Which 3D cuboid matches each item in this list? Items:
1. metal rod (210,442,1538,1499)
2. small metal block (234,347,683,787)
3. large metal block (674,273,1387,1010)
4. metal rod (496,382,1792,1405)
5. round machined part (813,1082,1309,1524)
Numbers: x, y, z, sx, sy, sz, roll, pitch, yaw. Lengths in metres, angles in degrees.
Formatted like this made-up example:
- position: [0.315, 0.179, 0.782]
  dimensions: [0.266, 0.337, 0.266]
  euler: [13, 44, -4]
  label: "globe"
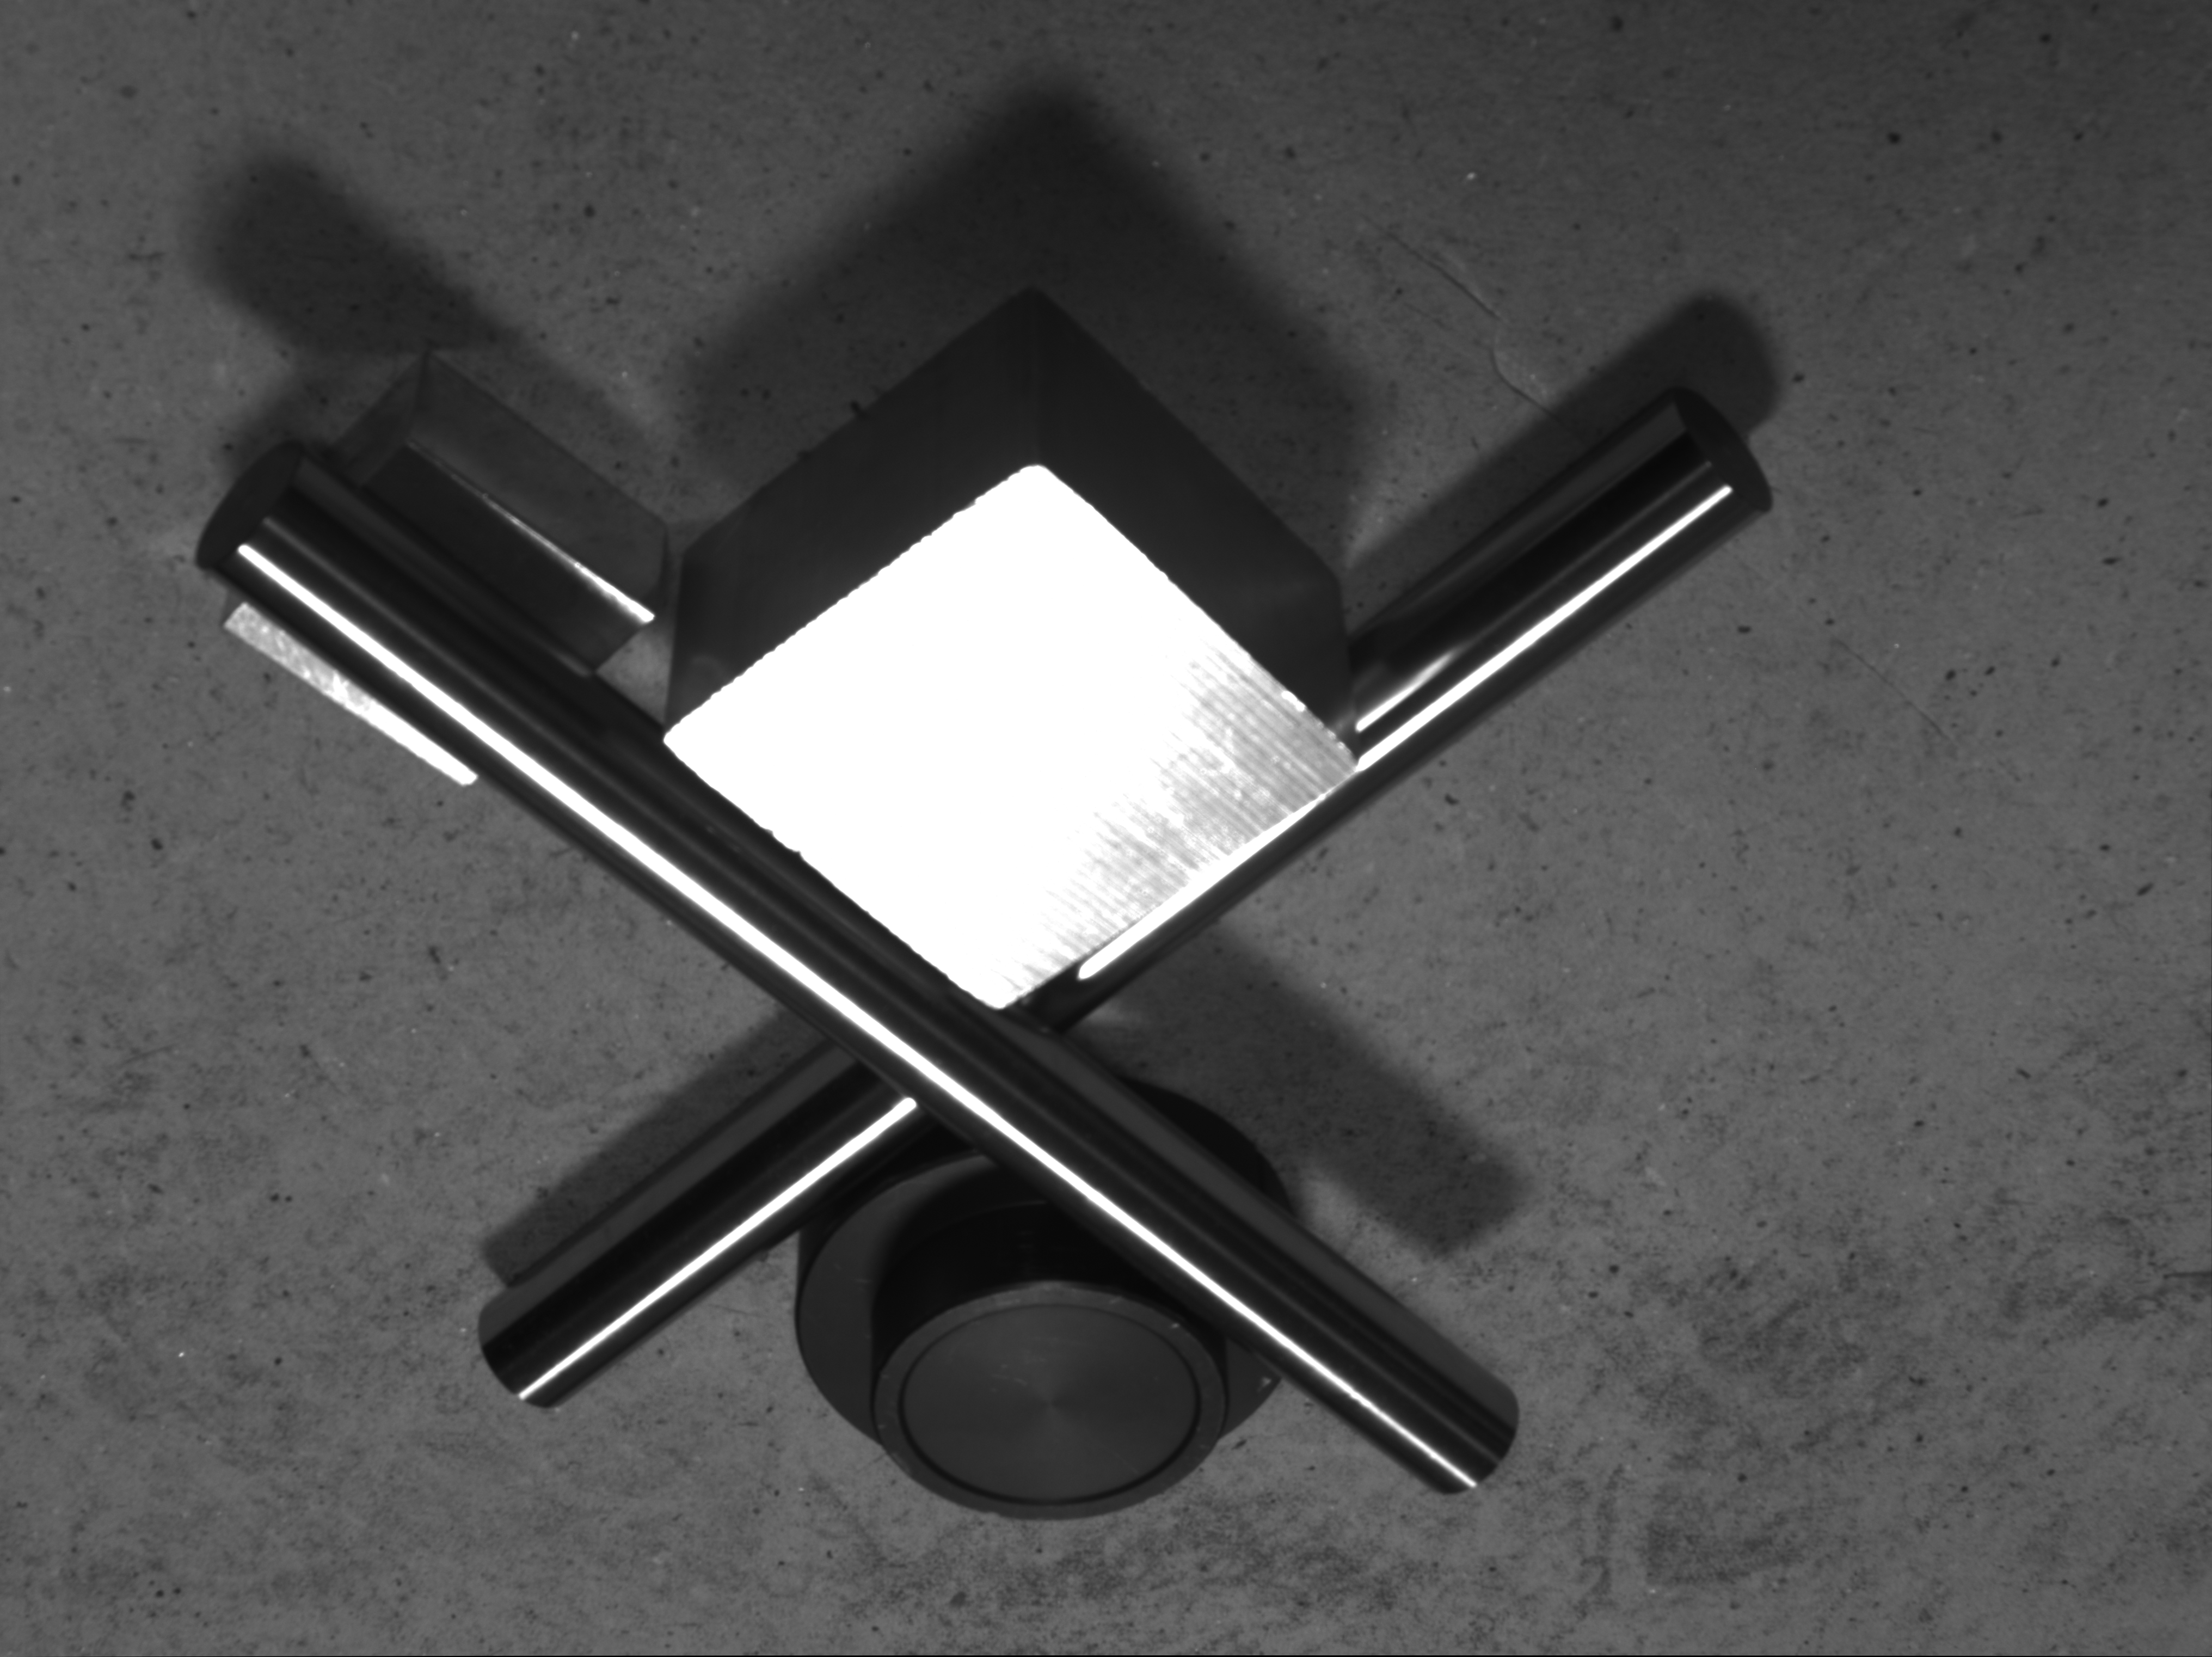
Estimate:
- position: [-0.028, 0.035, 0.633]
  dimensions: [0.025, 0.025, 0.301]
  euler: [-35, 123, 25]
  label: "metal rod"
- position: [-0.106, -0.042, 0.601]
  dimensions: [0.050, 0.025, 0.050]
  euler: [36, 120, -27]
  label: "small metal block"
- position: [-0.012, -0.029, 0.599]
  dimensions: [0.080, 0.050, 0.080]
  euler: [-34, 123, 24]
  label: "large metal block"
- position: [-0.004, 0.020, 0.657]
  dimensions: [0.300, 0.025, 0.025]
  euler: [-38, 122, 26]
  label: "metal rod"
- position: [-0.008, 0.097, 0.707]
  dimensions: [0.098, 0.042, 0.098]
  euler: [-1, 130, -1]
  label: "round machined part"
